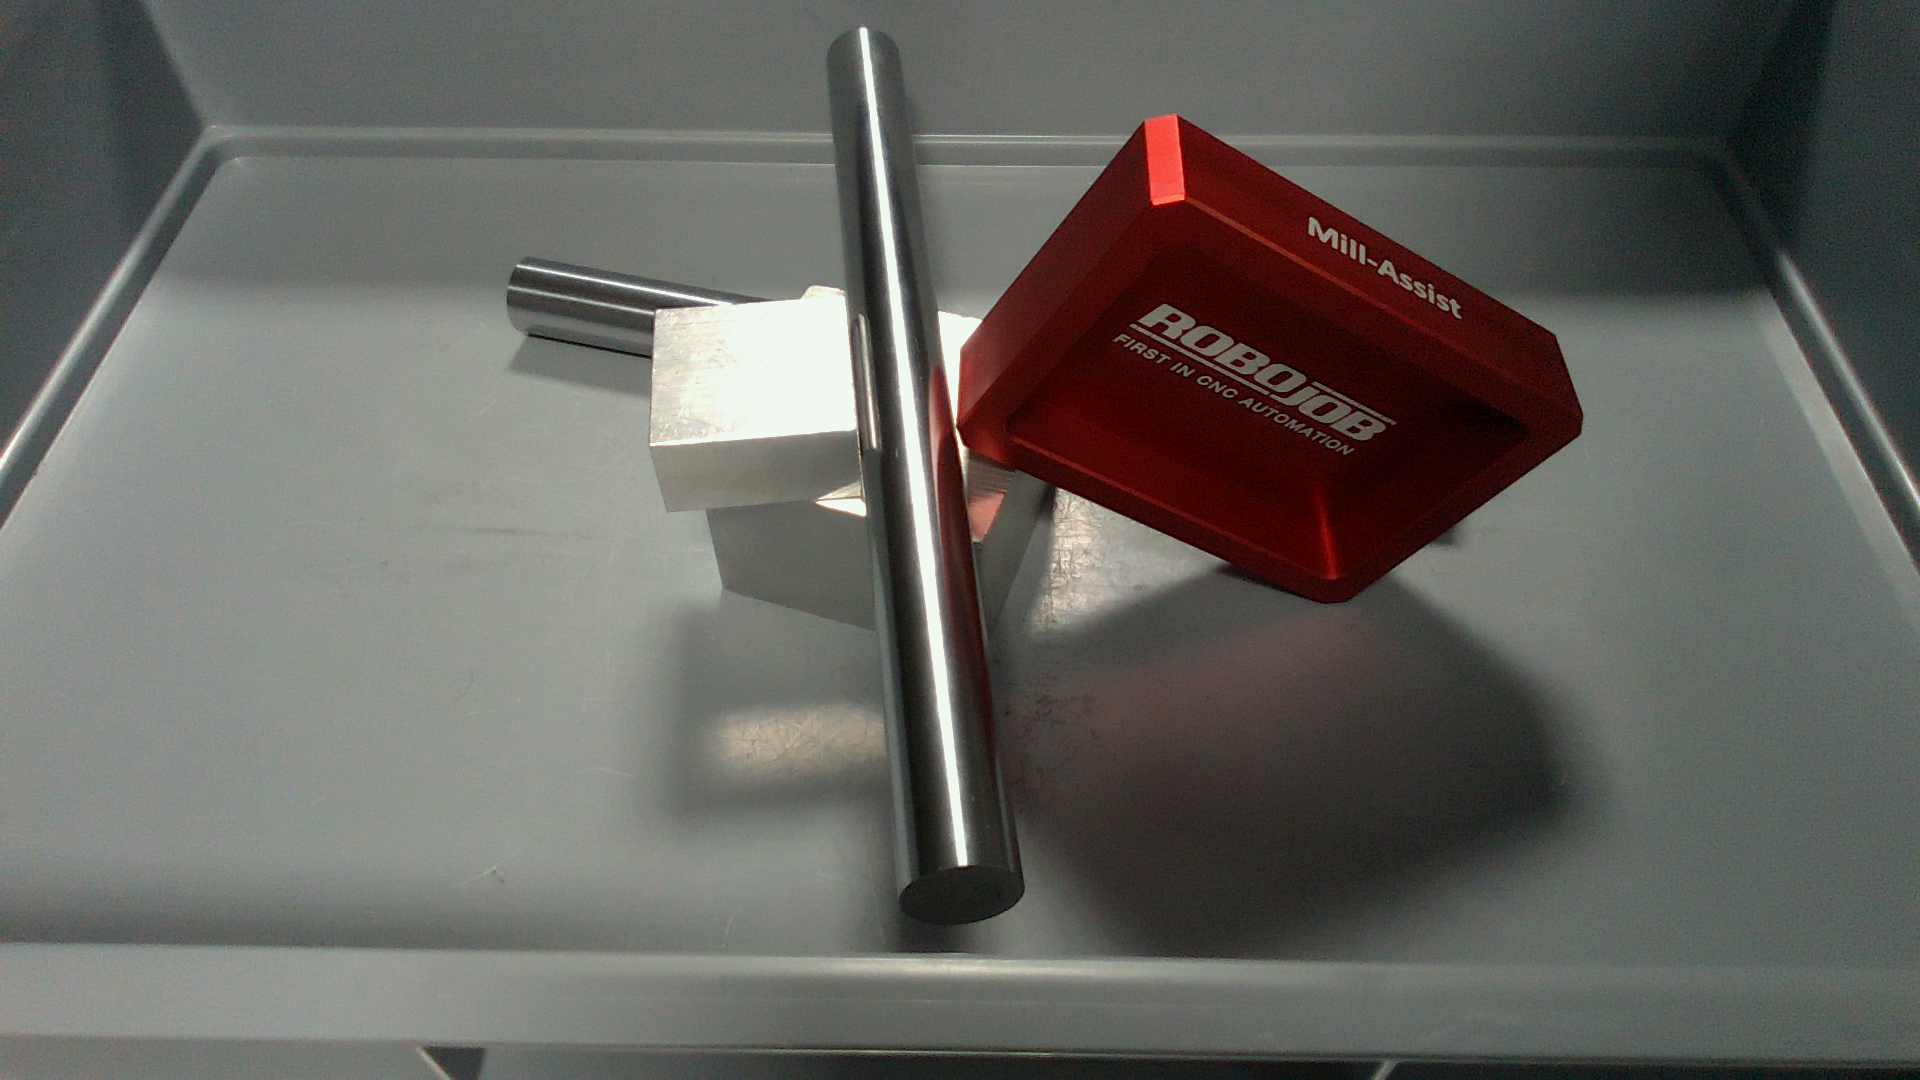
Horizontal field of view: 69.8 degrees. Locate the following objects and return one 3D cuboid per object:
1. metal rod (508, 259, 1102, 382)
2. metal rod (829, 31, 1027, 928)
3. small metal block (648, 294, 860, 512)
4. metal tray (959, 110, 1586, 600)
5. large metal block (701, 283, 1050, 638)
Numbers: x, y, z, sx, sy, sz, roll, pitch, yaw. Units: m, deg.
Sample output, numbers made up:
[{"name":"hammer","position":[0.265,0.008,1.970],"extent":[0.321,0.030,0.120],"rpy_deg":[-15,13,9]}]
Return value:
[{"name":"metal rod","position":[0.000,-0.053,0.436],"extent":[0.300,0.025,0.025],"rpy_deg":[11,51,9]},{"name":"metal rod","position":[-0.016,-0.044,0.362],"extent":[0.025,0.025,0.300],"rpy_deg":[-5,50,-4]},{"name":"small metal block","position":[-0.052,-0.036,0.355],"extent":[0.050,0.025,0.050],"rpy_deg":[-5,50,-4]},{"name":"metal tray","position":[0.076,-0.039,0.346],"extent":[0.130,0.090,0.030],"rpy_deg":[22,46,-23]},{"name":"large metal block","position":[-0.019,-0.021,0.392],"extent":[0.080,0.050,0.080],"rpy_deg":[14,51,12]}]
